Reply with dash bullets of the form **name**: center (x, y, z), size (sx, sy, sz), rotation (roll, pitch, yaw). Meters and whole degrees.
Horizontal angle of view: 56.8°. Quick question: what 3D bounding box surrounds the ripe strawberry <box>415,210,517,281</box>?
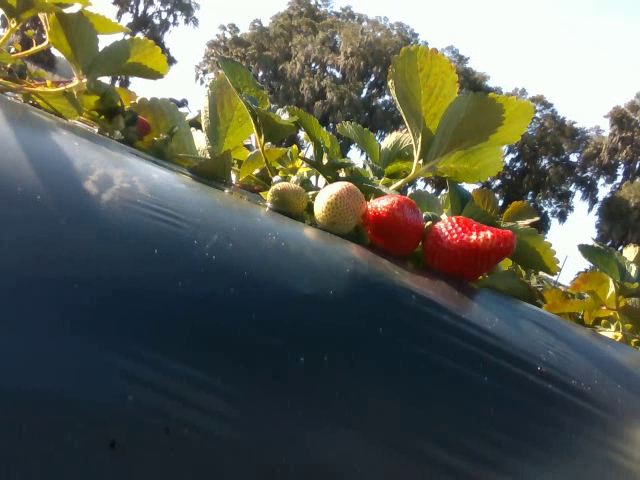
- **ripe strawberry**: center (0.096, 0.005, 0.364), size (0.057, 0.051, 0.067), rotation (-12, -2, -39)

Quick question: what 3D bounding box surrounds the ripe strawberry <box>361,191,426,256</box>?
- **ripe strawberry**: center (0.045, -0.013, 0.364), size (0.051, 0.043, 0.061), rotation (42, -5, 16)
